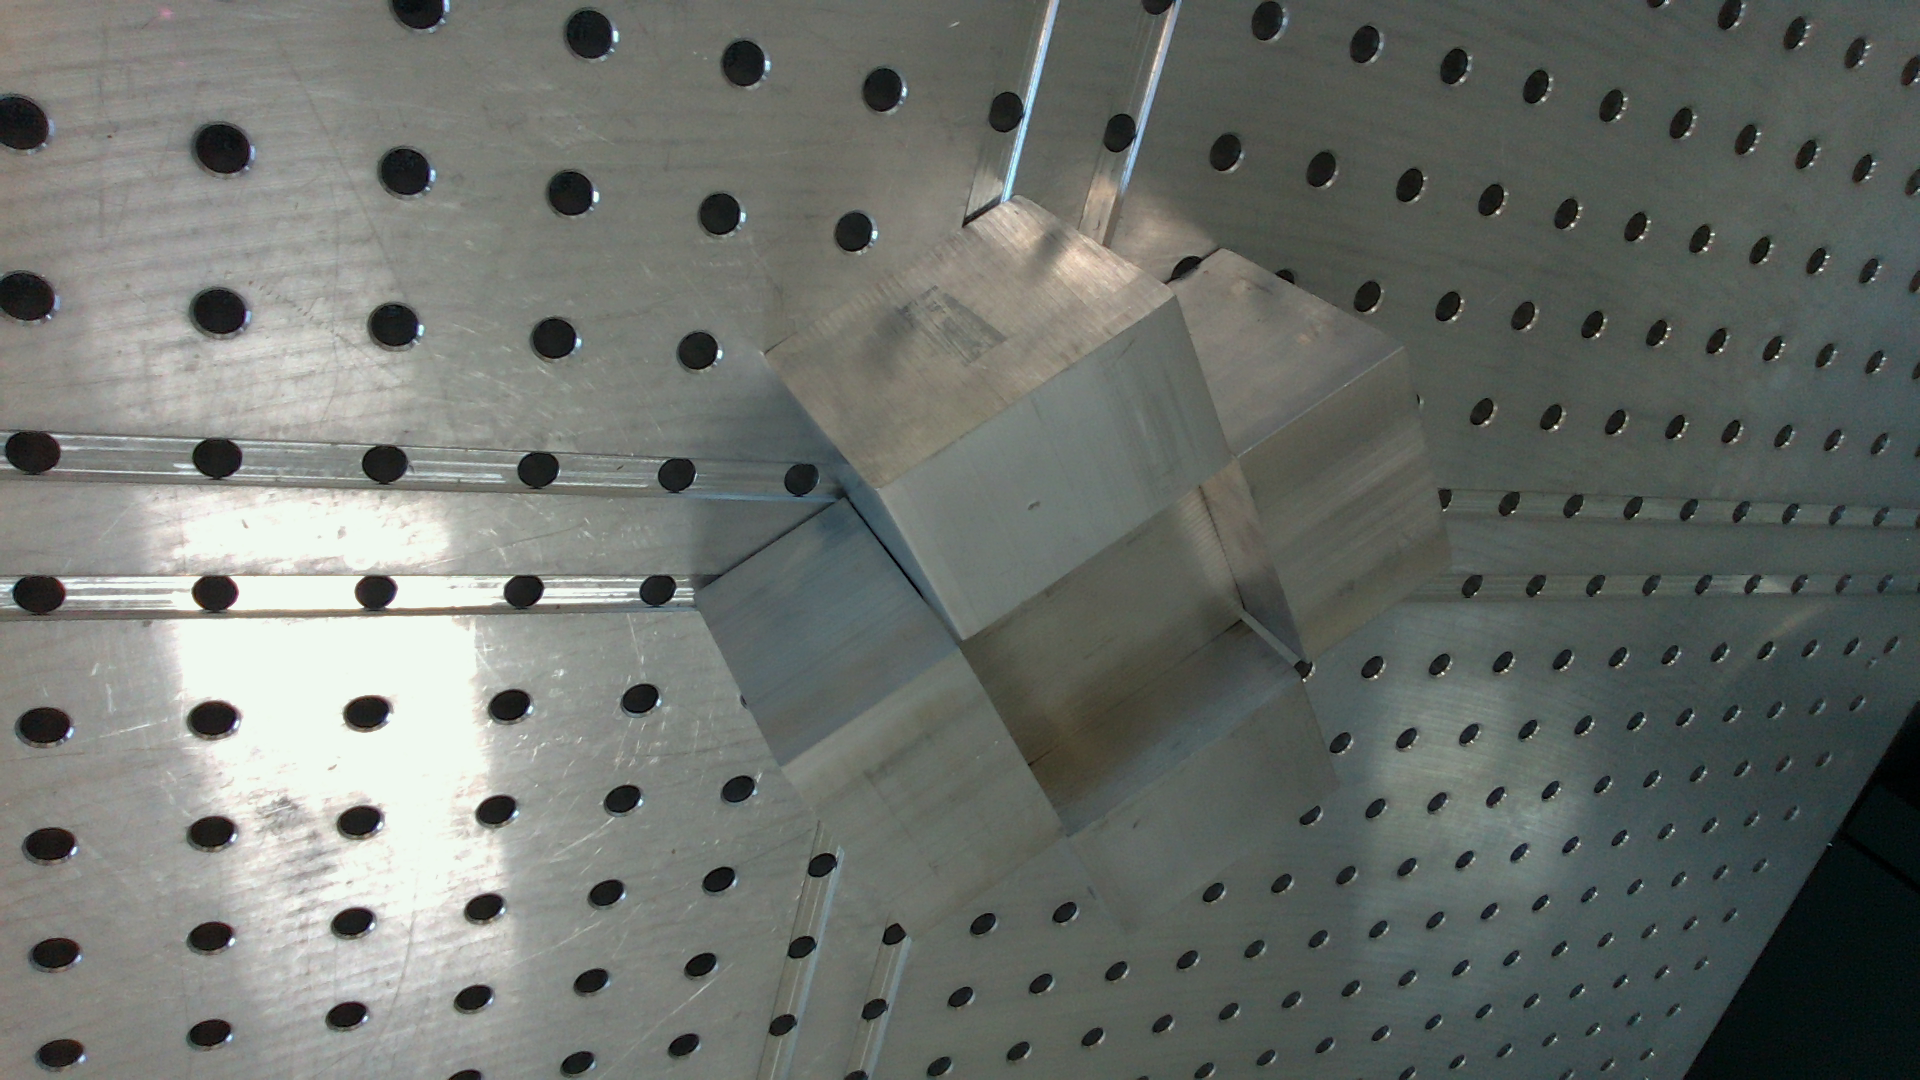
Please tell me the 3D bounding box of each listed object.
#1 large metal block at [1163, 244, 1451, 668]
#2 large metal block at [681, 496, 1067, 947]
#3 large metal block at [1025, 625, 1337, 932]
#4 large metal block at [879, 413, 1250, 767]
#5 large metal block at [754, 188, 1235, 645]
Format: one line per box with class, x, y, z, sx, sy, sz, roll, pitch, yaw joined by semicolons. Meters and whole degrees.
large metal block;0.085;-0.025;0.388;0.050;0.080;0.080;-34;129;-6
large metal block;-0.024;0.047;0.372;0.050;0.080;0.080;-34;129;-6
large metal block;0.054;0.057;0.422;0.080;0.080;0.050;-32;129;-7
large metal block;0.026;0.005;0.391;0.080;0.050;0.080;-32;127;-5
large metal block;0.007;-0.034;0.340;0.080;0.080;0.050;-34;129;-6
